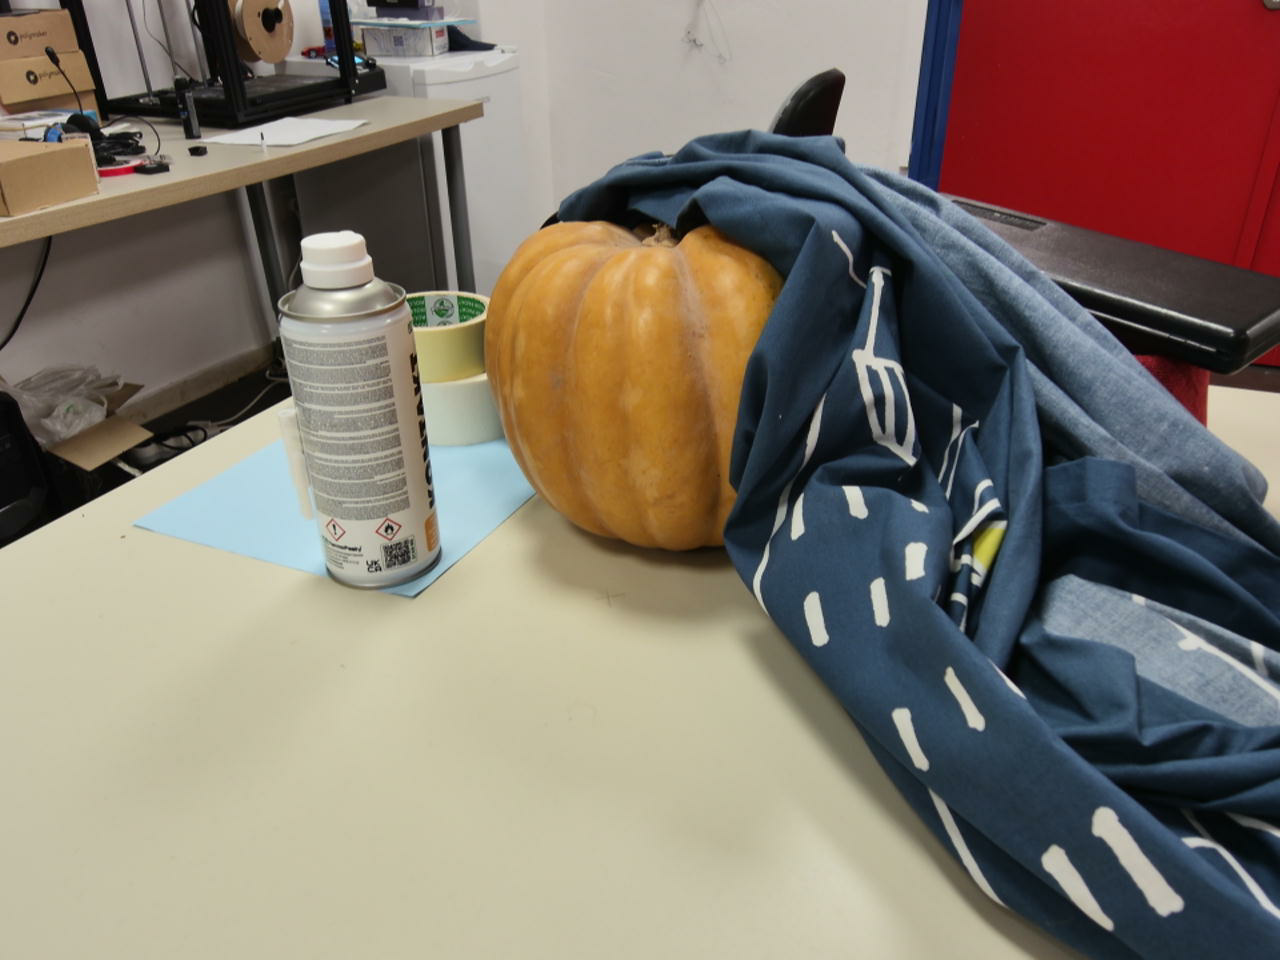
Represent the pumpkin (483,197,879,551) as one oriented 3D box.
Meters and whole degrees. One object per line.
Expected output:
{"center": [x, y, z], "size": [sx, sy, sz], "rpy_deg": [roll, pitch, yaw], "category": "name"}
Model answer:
{"center": [0.026, -0.063, 0.581], "size": [0.230, 0.194, 0.230], "rpy_deg": [0, 26, 0], "category": "pumpkin"}
